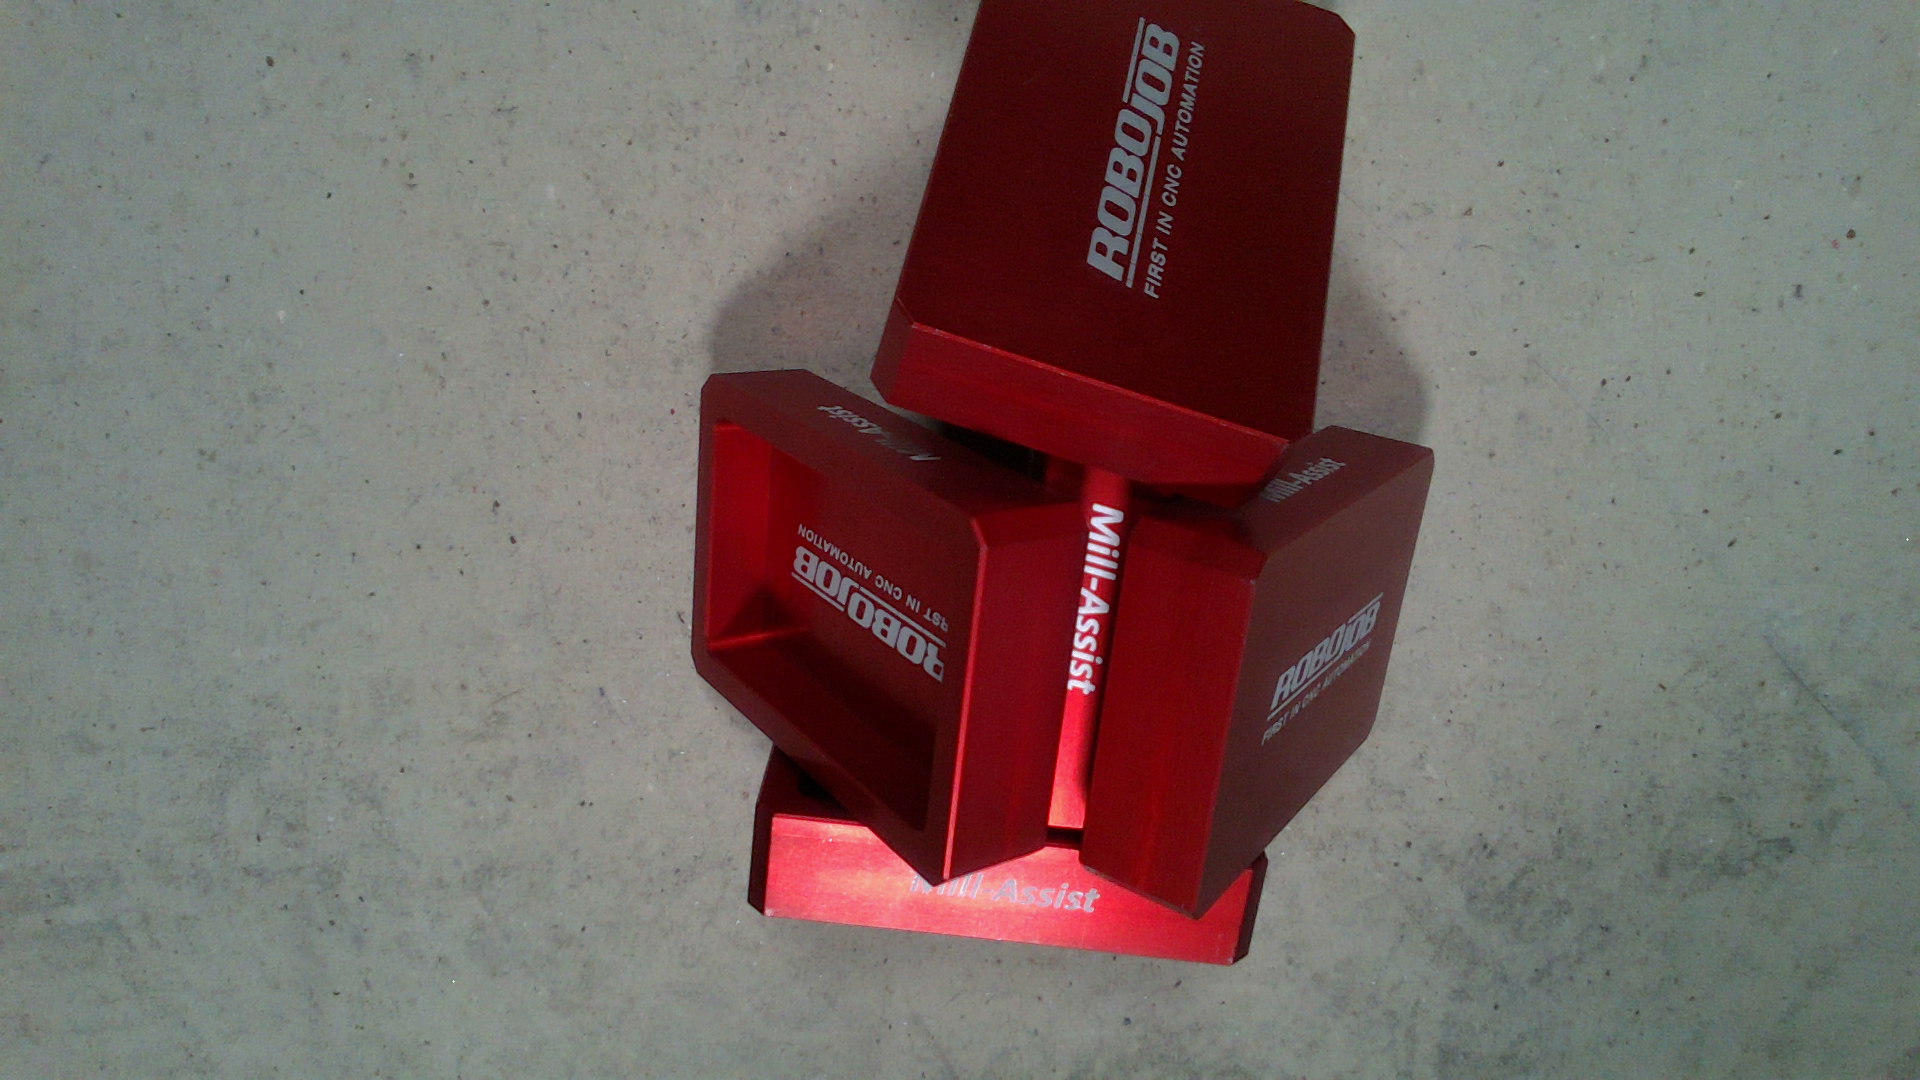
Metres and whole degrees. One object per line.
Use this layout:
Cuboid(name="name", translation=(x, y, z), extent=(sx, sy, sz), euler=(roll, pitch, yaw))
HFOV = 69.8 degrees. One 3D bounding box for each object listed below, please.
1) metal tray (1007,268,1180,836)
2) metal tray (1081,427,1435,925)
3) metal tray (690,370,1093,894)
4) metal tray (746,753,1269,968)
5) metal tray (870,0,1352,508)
Cuboid(name="metal tray", translation=(0.031, -0.001, 0.359), extent=(0.030, 0.090, 0.130), euler=(7, 110, -2))
Cuboid(name="metal tray", translation=(0.080, 0.027, 0.351), extent=(0.030, 0.130, 0.090), euler=(18, 113, 29))
Cuboid(name="metal tray", translation=(-0.025, 0.016, 0.348), extent=(0.030, 0.130, 0.090), euler=(-9, 115, -36))
Cuboid(name="metal tray", translation=(0.012, 0.074, 0.386), extent=(0.130, 0.090, 0.030), euler=(7, 110, -3))
Cuboid(name="metal tray", translation=(0.039, -0.080, 0.316), extent=(0.090, 0.130, 0.030), euler=(16, 150, -6))
